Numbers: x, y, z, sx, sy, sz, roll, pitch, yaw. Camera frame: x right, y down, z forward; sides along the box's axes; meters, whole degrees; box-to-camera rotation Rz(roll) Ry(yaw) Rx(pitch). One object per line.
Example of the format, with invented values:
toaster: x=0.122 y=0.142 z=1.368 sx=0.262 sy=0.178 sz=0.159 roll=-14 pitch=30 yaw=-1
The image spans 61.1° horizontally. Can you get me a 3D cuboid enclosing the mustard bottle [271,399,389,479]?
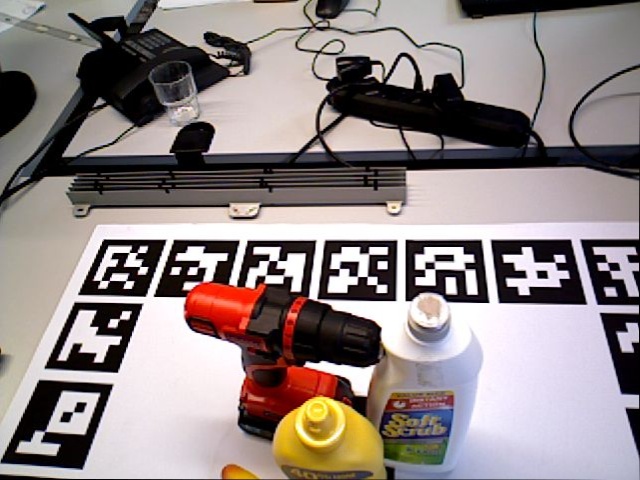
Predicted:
mustard bottle: x=0.010 y=0.182 z=0.458 sx=0.096 sy=0.195 sz=0.057 roll=2 pitch=51 yaw=9

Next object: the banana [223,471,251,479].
banana: x=-0.004 y=0.260 z=0.510 sx=0.198 sy=0.039 sz=0.073 roll=3 pitch=53 yaw=15

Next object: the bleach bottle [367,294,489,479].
bleach bottle: x=0.083 y=0.123 z=0.462 sx=0.103 sy=0.256 sz=0.066 roll=3 pitch=46 yaw=11

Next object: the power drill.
power drill: x=-0.025 y=0.114 z=0.492 sx=0.185 sy=0.190 sz=0.056 roll=12 pitch=52 yaw=16
